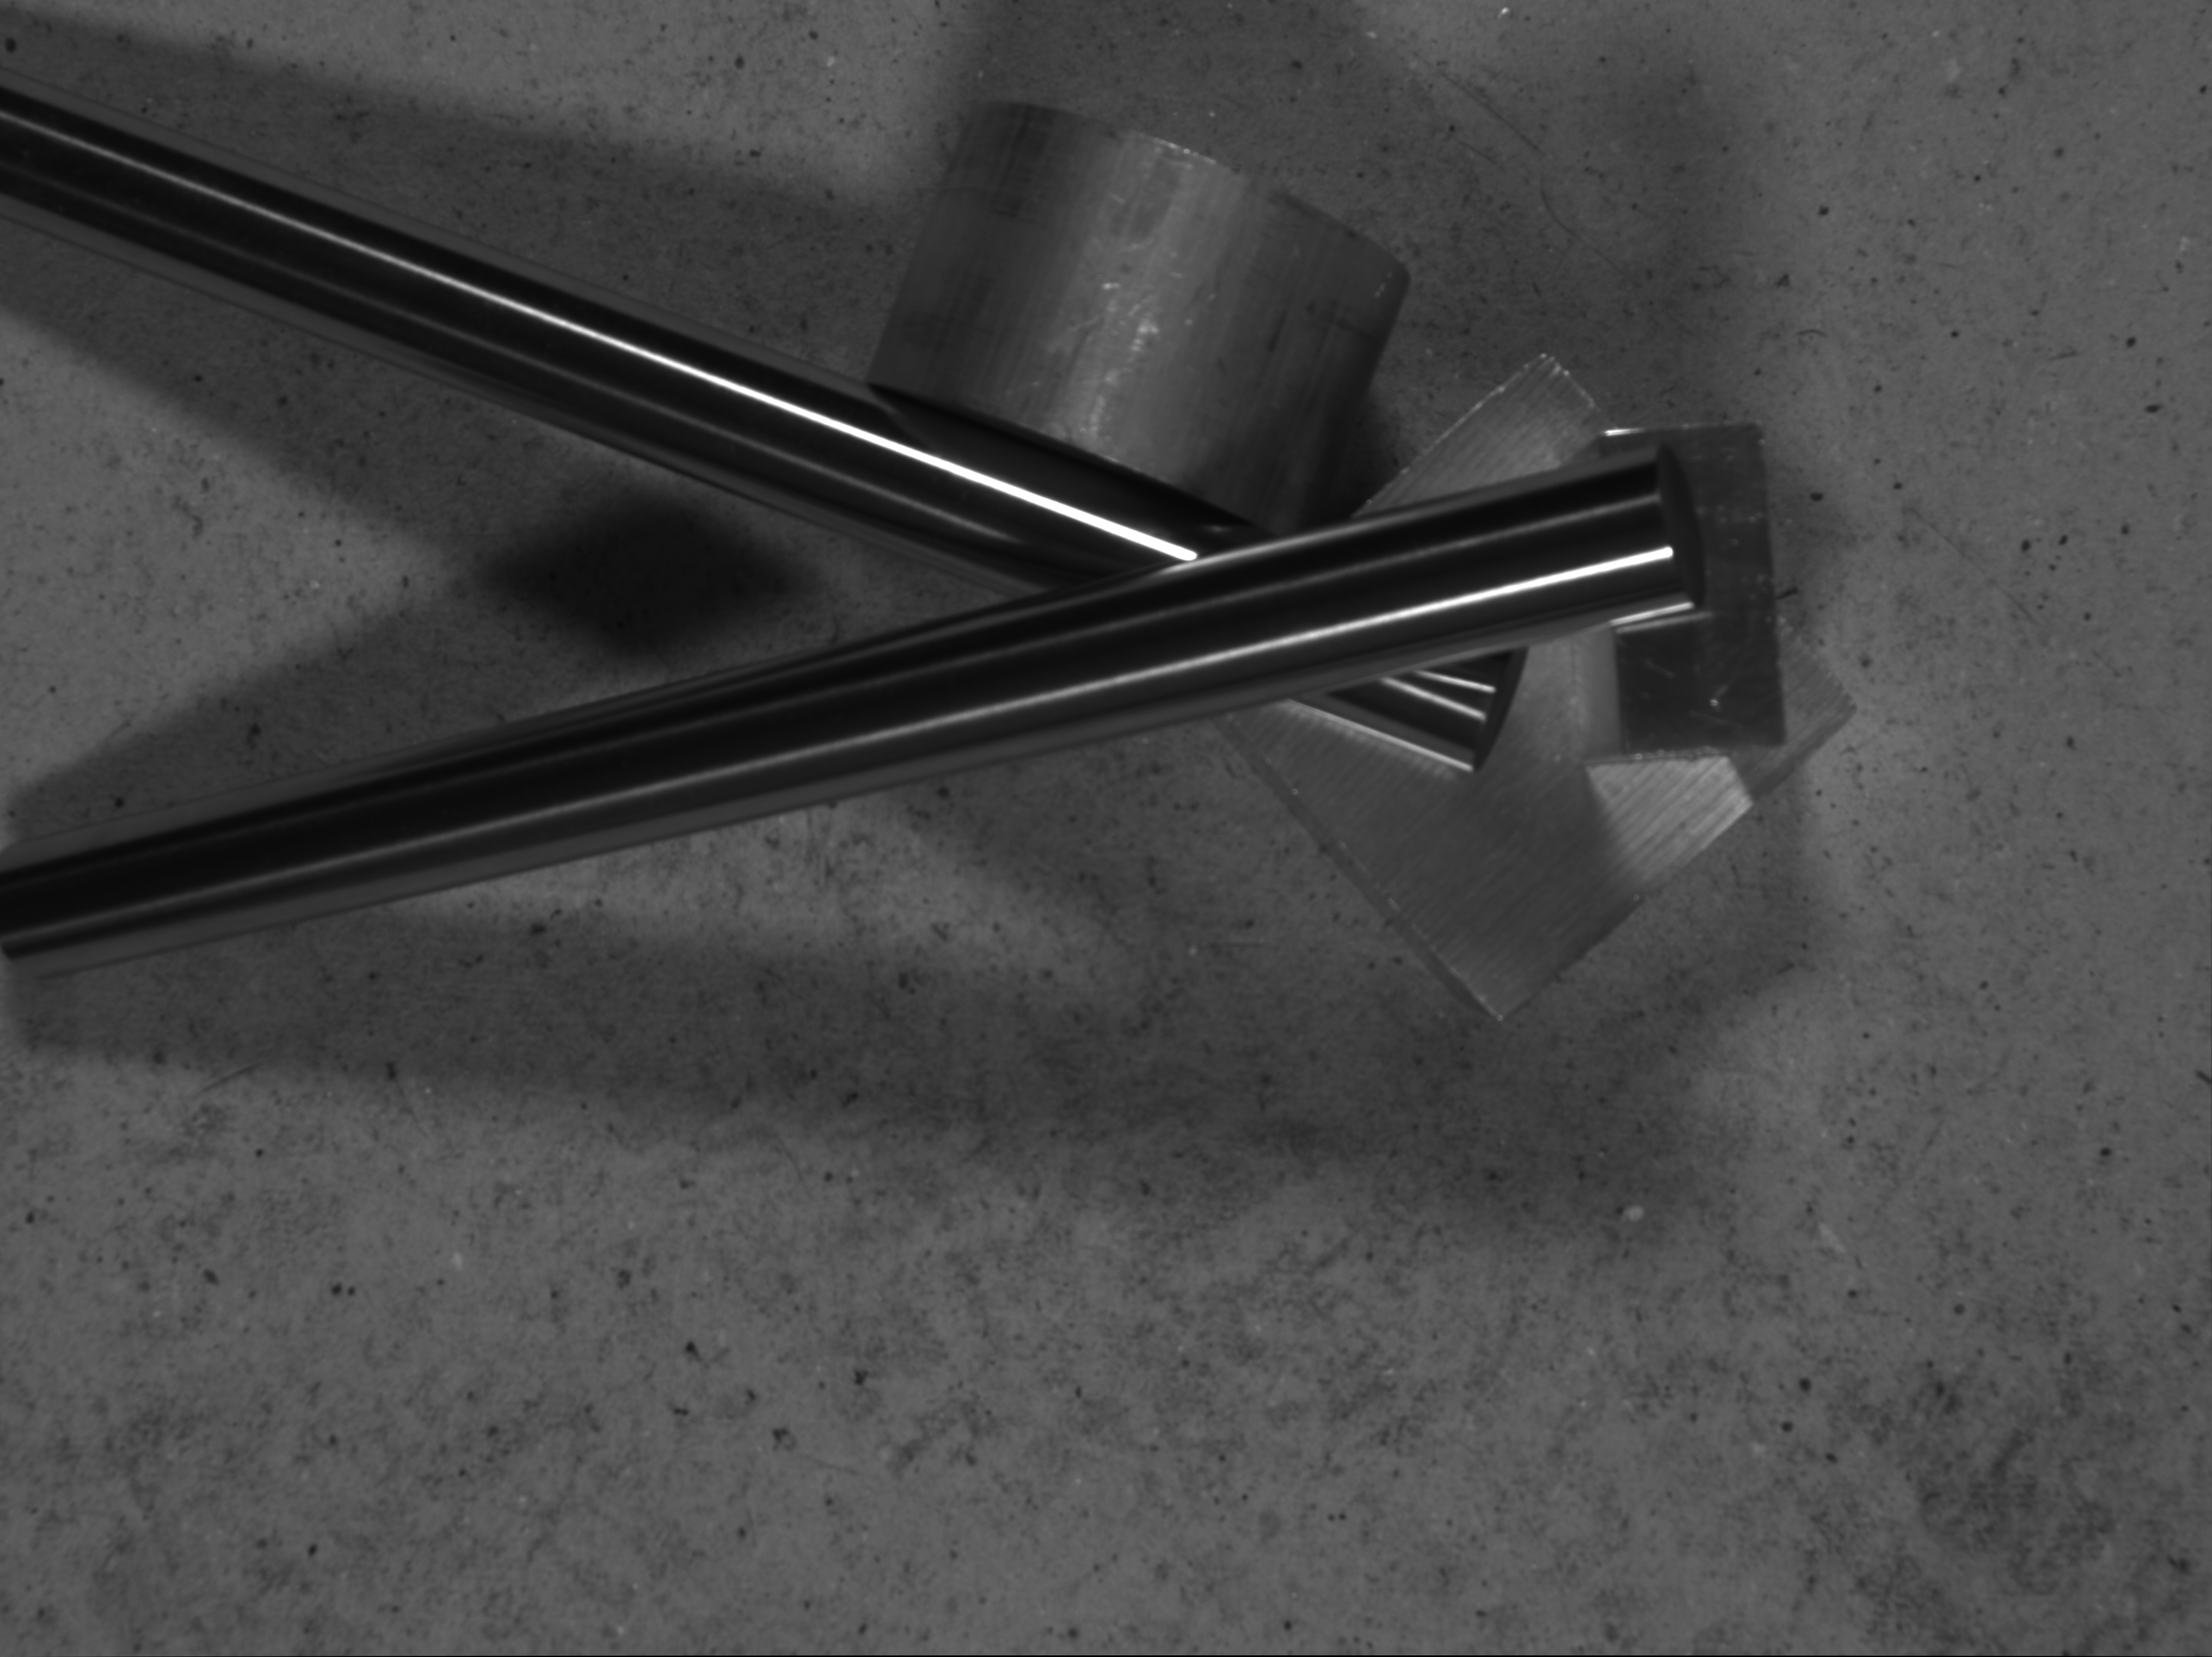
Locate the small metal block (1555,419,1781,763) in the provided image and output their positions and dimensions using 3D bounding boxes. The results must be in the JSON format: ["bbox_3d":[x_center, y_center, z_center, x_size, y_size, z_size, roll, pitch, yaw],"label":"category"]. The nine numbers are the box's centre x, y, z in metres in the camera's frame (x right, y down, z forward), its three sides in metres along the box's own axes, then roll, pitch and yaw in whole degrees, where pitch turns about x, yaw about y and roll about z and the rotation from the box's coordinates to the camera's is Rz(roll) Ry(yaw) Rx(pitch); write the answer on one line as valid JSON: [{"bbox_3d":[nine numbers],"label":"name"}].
[{"bbox_3d":[0.088,-0.036,0.581,0.025,0.050,0.050,-4,90,0],"label":"small metal block"}]

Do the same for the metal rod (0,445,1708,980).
[{"bbox_3d":[-0.052,-0.015,0.592,0.300,0.025,0.025,-12,90,20],"label":"metal rod"}]

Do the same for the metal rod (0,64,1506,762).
[{"bbox_3d":[-0.076,-0.075,0.616,0.300,0.025,0.025,21,90,11],"label":"metal rod"}]

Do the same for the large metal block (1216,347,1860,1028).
[{"bbox_3d":[0.069,-0.023,0.632,0.080,0.050,0.080,-41,90,1],"label":"large metal block"}]

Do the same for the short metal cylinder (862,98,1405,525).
[{"bbox_3d":[0.004,-0.084,0.619,0.080,0.080,0.050,21,90,0],"label":"short metal cylinder"}]
